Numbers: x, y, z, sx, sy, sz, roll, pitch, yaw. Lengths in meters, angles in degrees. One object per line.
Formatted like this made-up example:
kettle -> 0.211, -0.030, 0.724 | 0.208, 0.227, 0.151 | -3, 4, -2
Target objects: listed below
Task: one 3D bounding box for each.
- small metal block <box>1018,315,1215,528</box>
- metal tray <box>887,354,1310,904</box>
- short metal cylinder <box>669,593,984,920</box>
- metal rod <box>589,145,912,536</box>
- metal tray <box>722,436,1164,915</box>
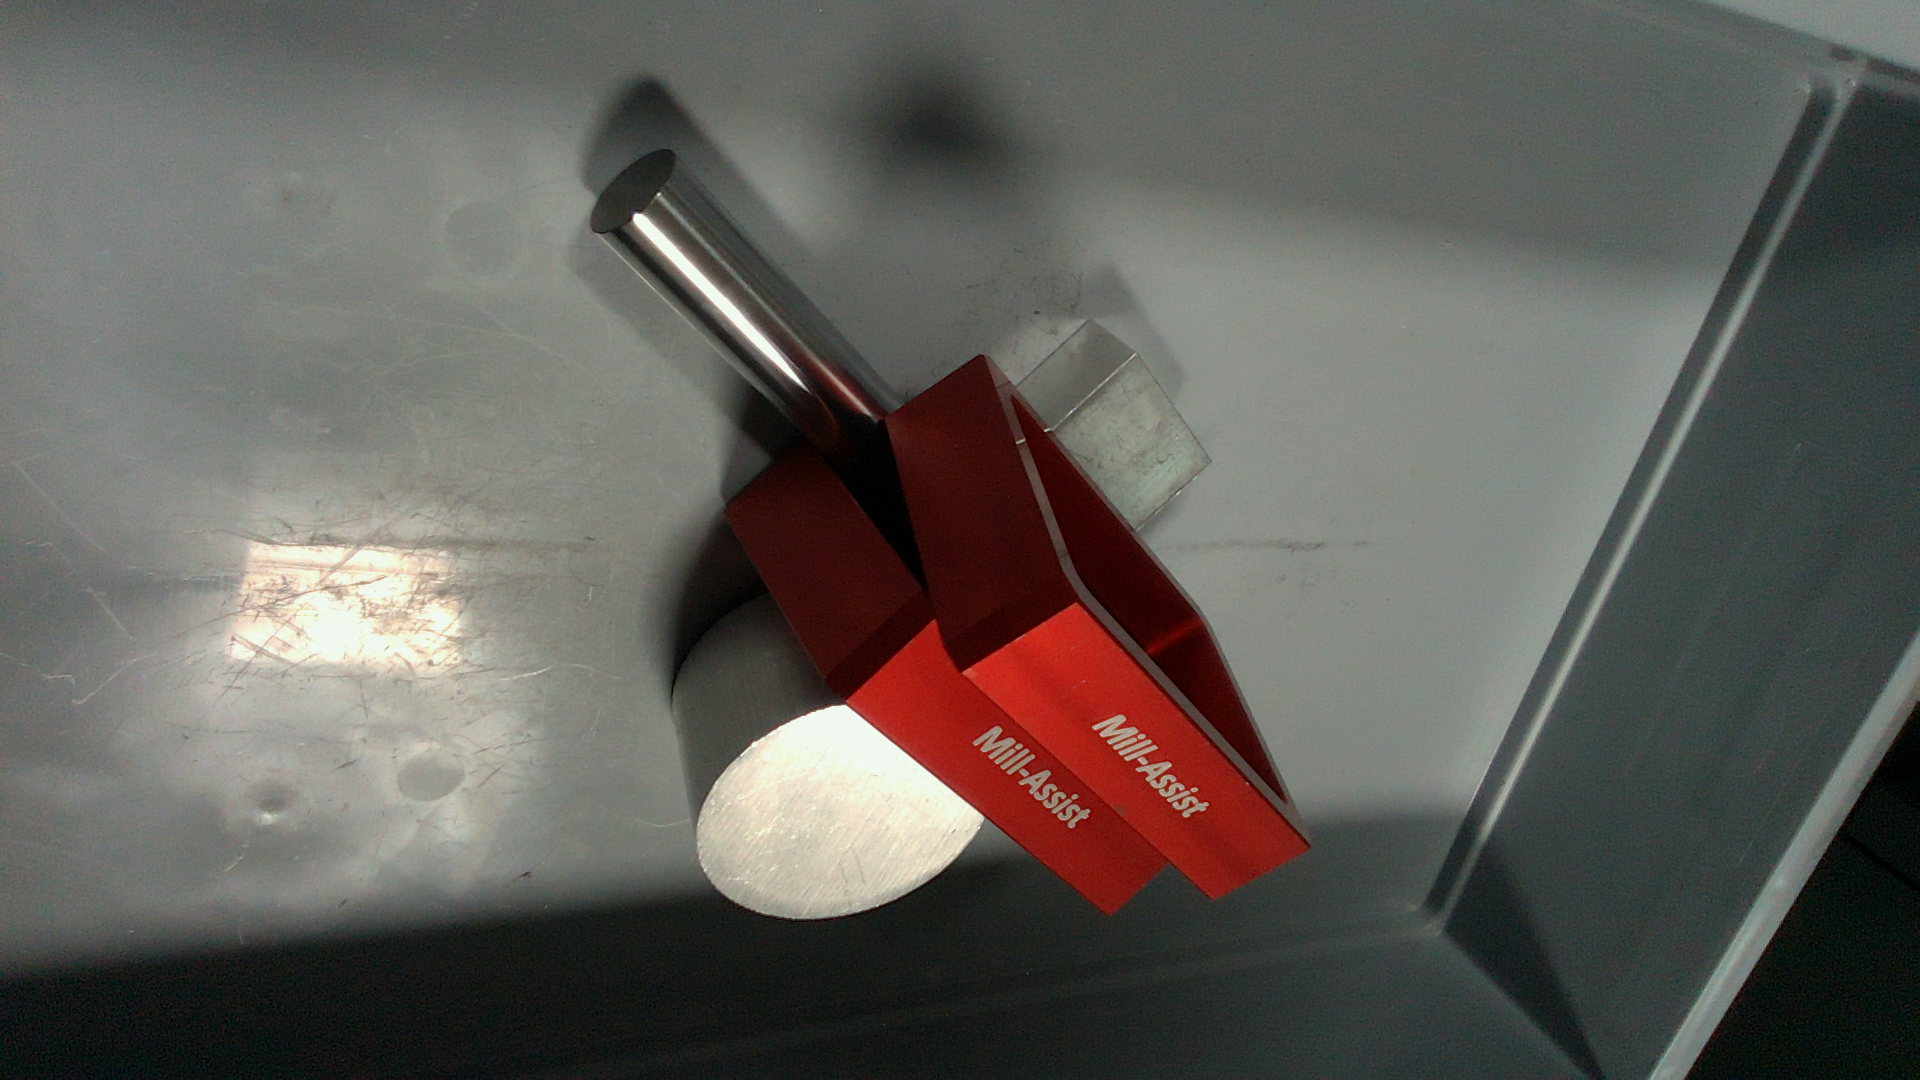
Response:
small metal block -> 0.037, -0.026, 0.392 | 0.050, 0.025, 0.050 | -42, 129, 1
metal tray -> 0.036, 0.024, 0.348 | 0.030, 0.090, 0.130 | -32, 131, 15
short metal cylinder -> -0.037, 0.058, 0.380 | 0.080, 0.050, 0.080 | -11, 128, -14
metal rod -> 0.009, 0.005, 0.398 | 0.025, 0.025, 0.301 | -43, 129, 2
metal tray -> 0.000, 0.038, 0.369 | 0.030, 0.090, 0.130 | -43, 129, 2
